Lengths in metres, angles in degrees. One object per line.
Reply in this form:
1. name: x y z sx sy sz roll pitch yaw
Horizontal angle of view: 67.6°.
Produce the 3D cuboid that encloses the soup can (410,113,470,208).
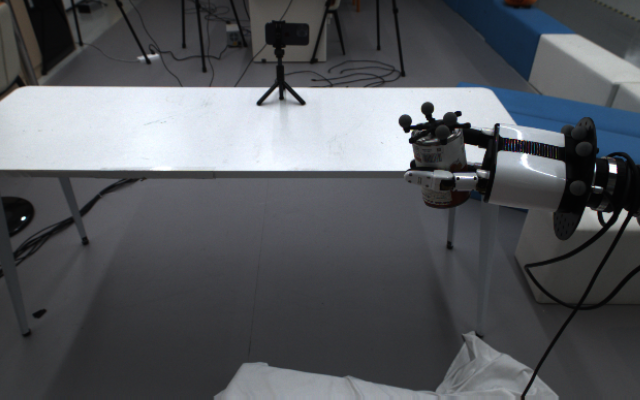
1. soup can: 0.165 -0.049 0.655 0.067 0.101 0.067 -13 31 8
